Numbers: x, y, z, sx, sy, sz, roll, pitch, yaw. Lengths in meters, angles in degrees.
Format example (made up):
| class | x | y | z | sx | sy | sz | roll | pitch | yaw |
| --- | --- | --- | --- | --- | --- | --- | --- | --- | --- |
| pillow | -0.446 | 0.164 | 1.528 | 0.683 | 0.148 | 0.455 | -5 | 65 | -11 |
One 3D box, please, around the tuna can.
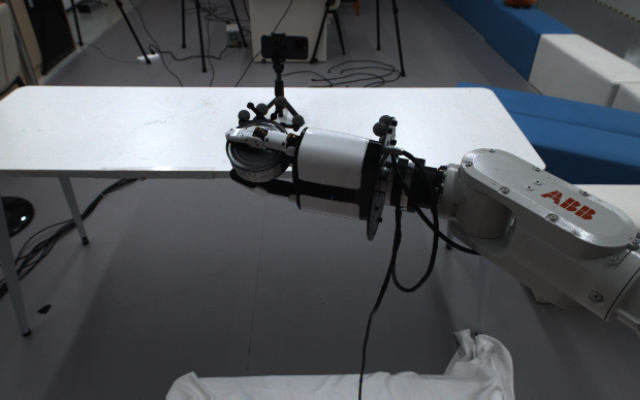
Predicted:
| class | x | y | z | sx | sy | sz | roll | pitch | yaw |
| --- | --- | --- | --- | --- | --- | --- | --- | --- | --- |
| tuna can | -0.082 | -0.068 | 0.656 | 0.085 | 0.034 | 0.085 | -3 | 57 | 4 |
